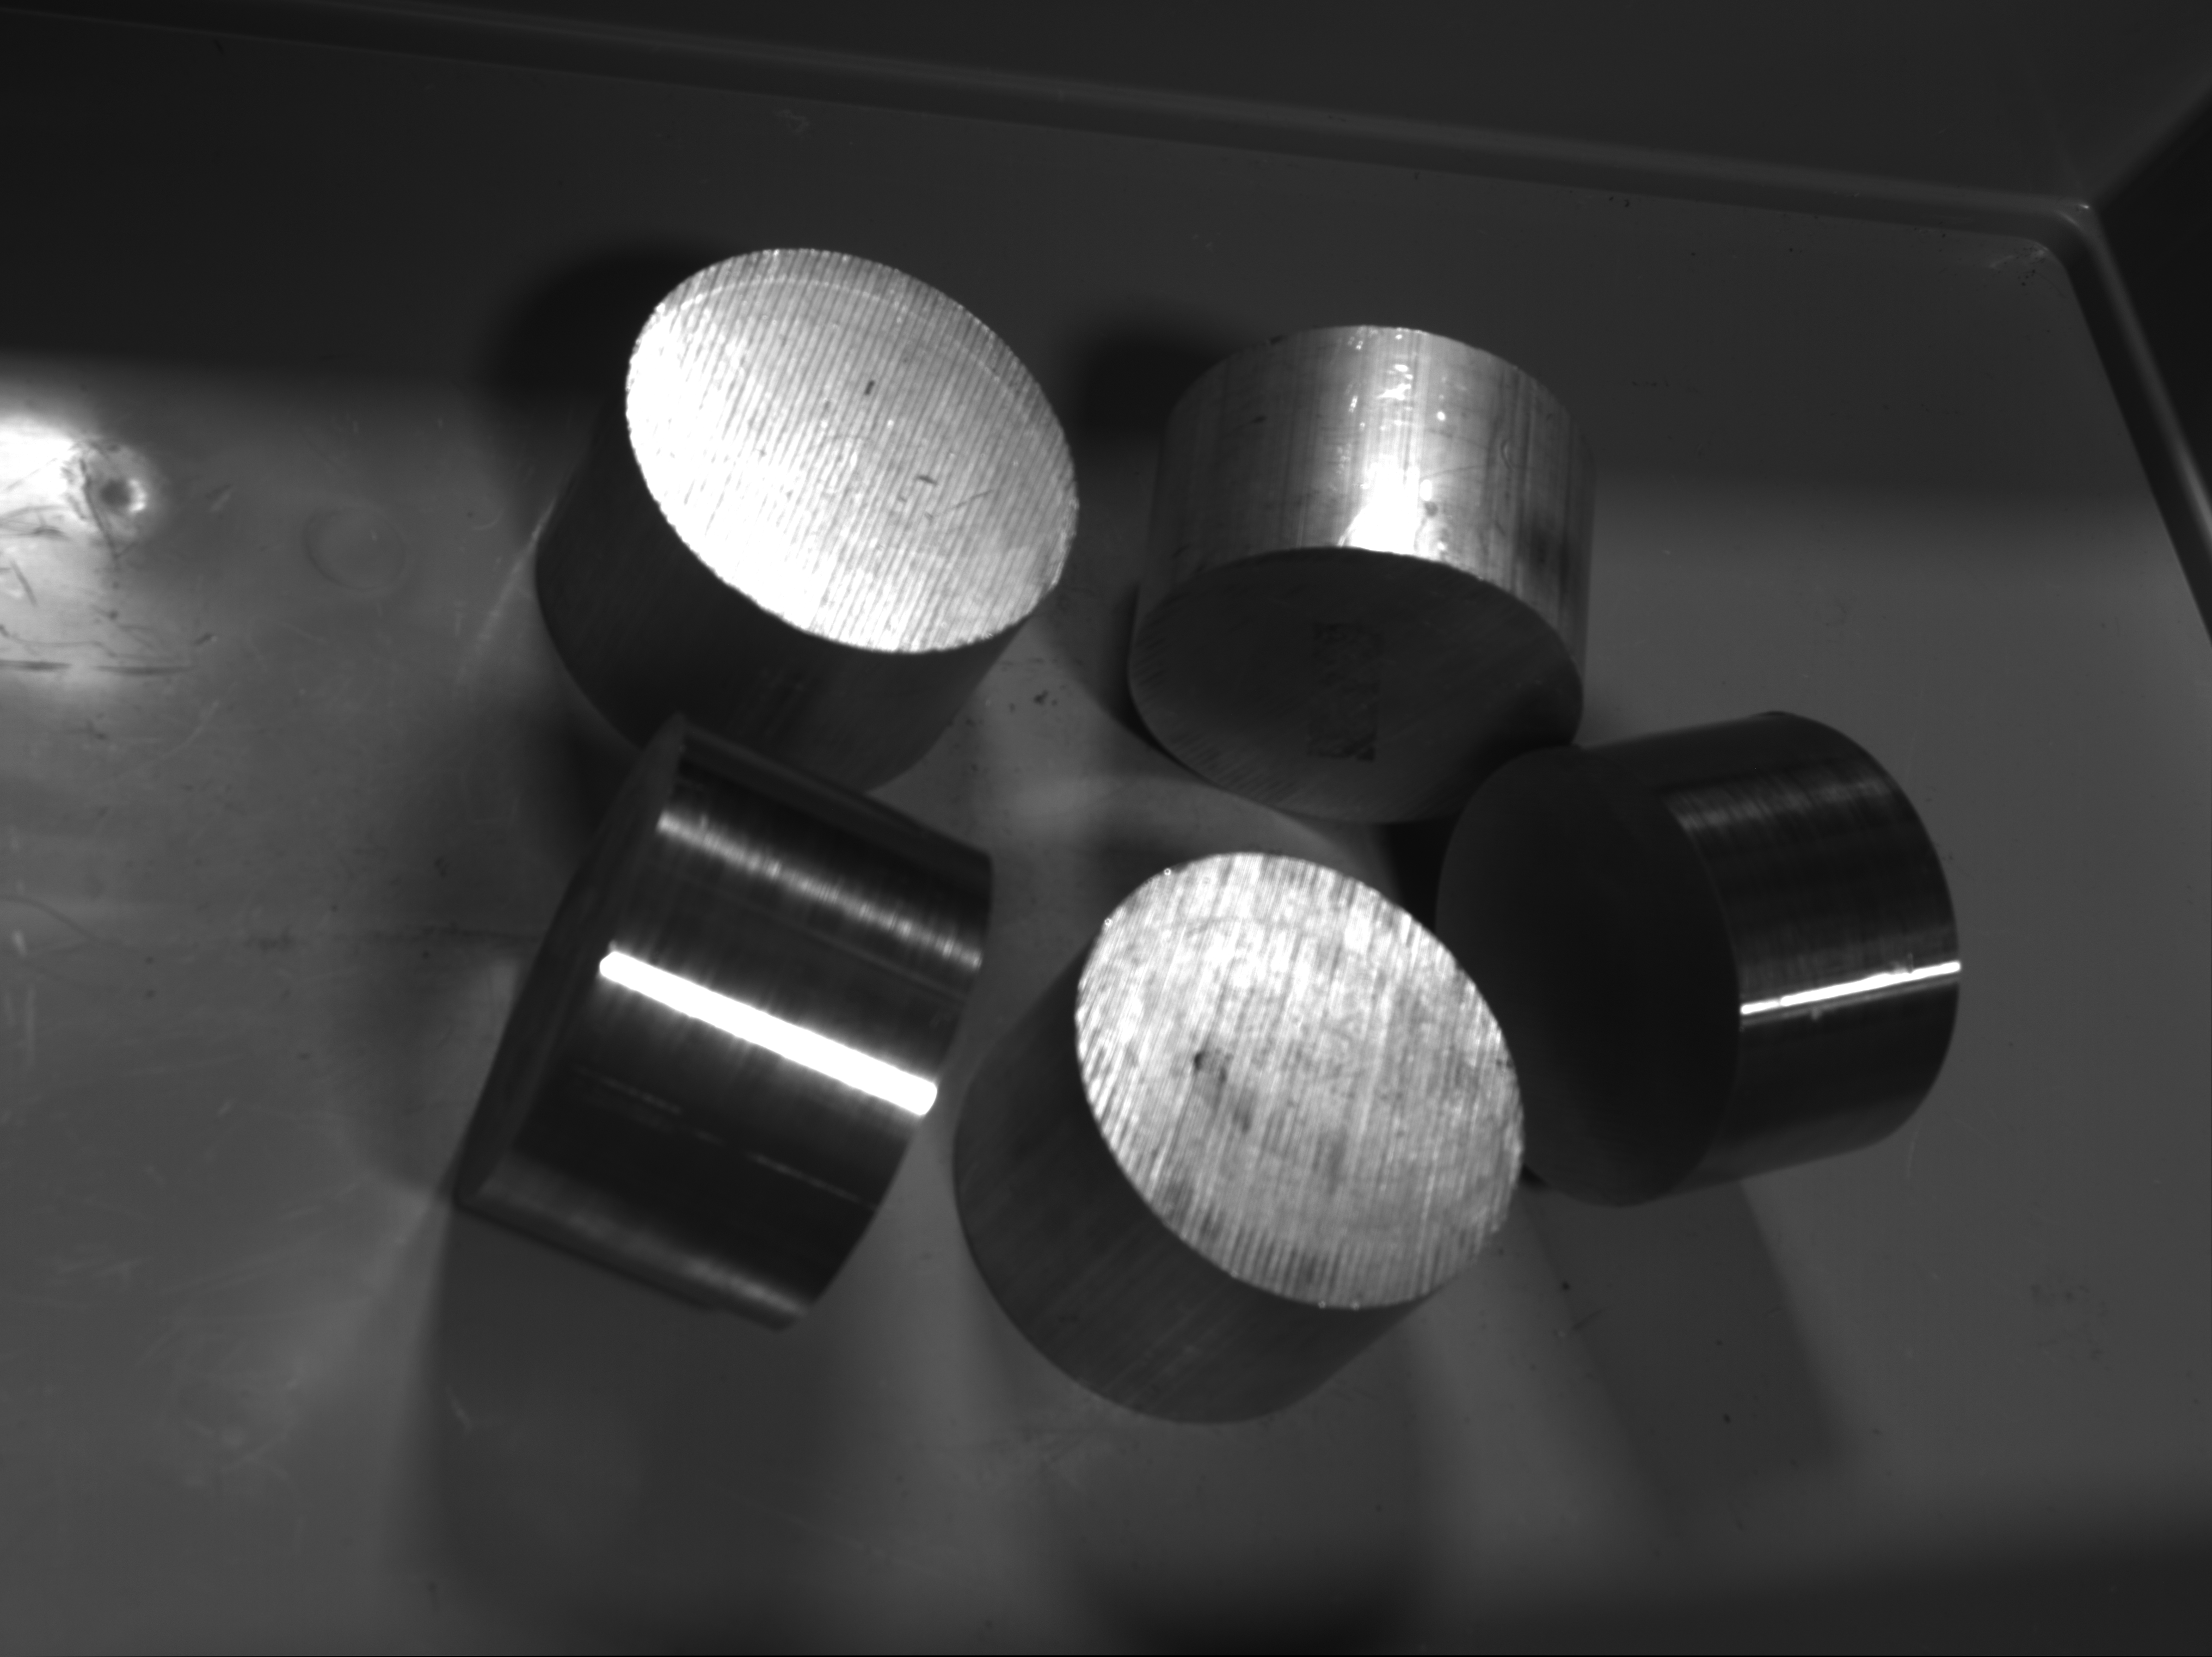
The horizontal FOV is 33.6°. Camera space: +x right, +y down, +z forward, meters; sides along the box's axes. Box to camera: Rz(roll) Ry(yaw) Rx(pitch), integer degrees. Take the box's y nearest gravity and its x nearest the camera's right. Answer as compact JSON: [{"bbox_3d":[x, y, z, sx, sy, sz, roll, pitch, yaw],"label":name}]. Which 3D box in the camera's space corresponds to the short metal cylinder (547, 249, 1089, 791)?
[{"bbox_3d":[-0.050,-0.052,0.627,0.080,0.050,0.080,14,56,-21],"label":"short metal cylinder"}]

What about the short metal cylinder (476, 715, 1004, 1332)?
[{"bbox_3d":[-0.056,0.030,0.554,0.050,0.080,0.080,24,53,-13],"label":"short metal cylinder"}]

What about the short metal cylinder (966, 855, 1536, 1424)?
[{"bbox_3d":[0.023,0.051,0.603,0.080,0.050,0.080,14,56,-21],"label":"short metal cylinder"}]

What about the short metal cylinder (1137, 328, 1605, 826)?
[{"bbox_3d":[0.048,-0.044,0.657,0.080,0.080,0.050,20,54,-16],"label":"short metal cylinder"}]

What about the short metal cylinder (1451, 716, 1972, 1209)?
[{"bbox_3d":[0.105,0.023,0.645,0.050,0.080,0.080,-9,66,-32],"label":"short metal cylinder"}]
